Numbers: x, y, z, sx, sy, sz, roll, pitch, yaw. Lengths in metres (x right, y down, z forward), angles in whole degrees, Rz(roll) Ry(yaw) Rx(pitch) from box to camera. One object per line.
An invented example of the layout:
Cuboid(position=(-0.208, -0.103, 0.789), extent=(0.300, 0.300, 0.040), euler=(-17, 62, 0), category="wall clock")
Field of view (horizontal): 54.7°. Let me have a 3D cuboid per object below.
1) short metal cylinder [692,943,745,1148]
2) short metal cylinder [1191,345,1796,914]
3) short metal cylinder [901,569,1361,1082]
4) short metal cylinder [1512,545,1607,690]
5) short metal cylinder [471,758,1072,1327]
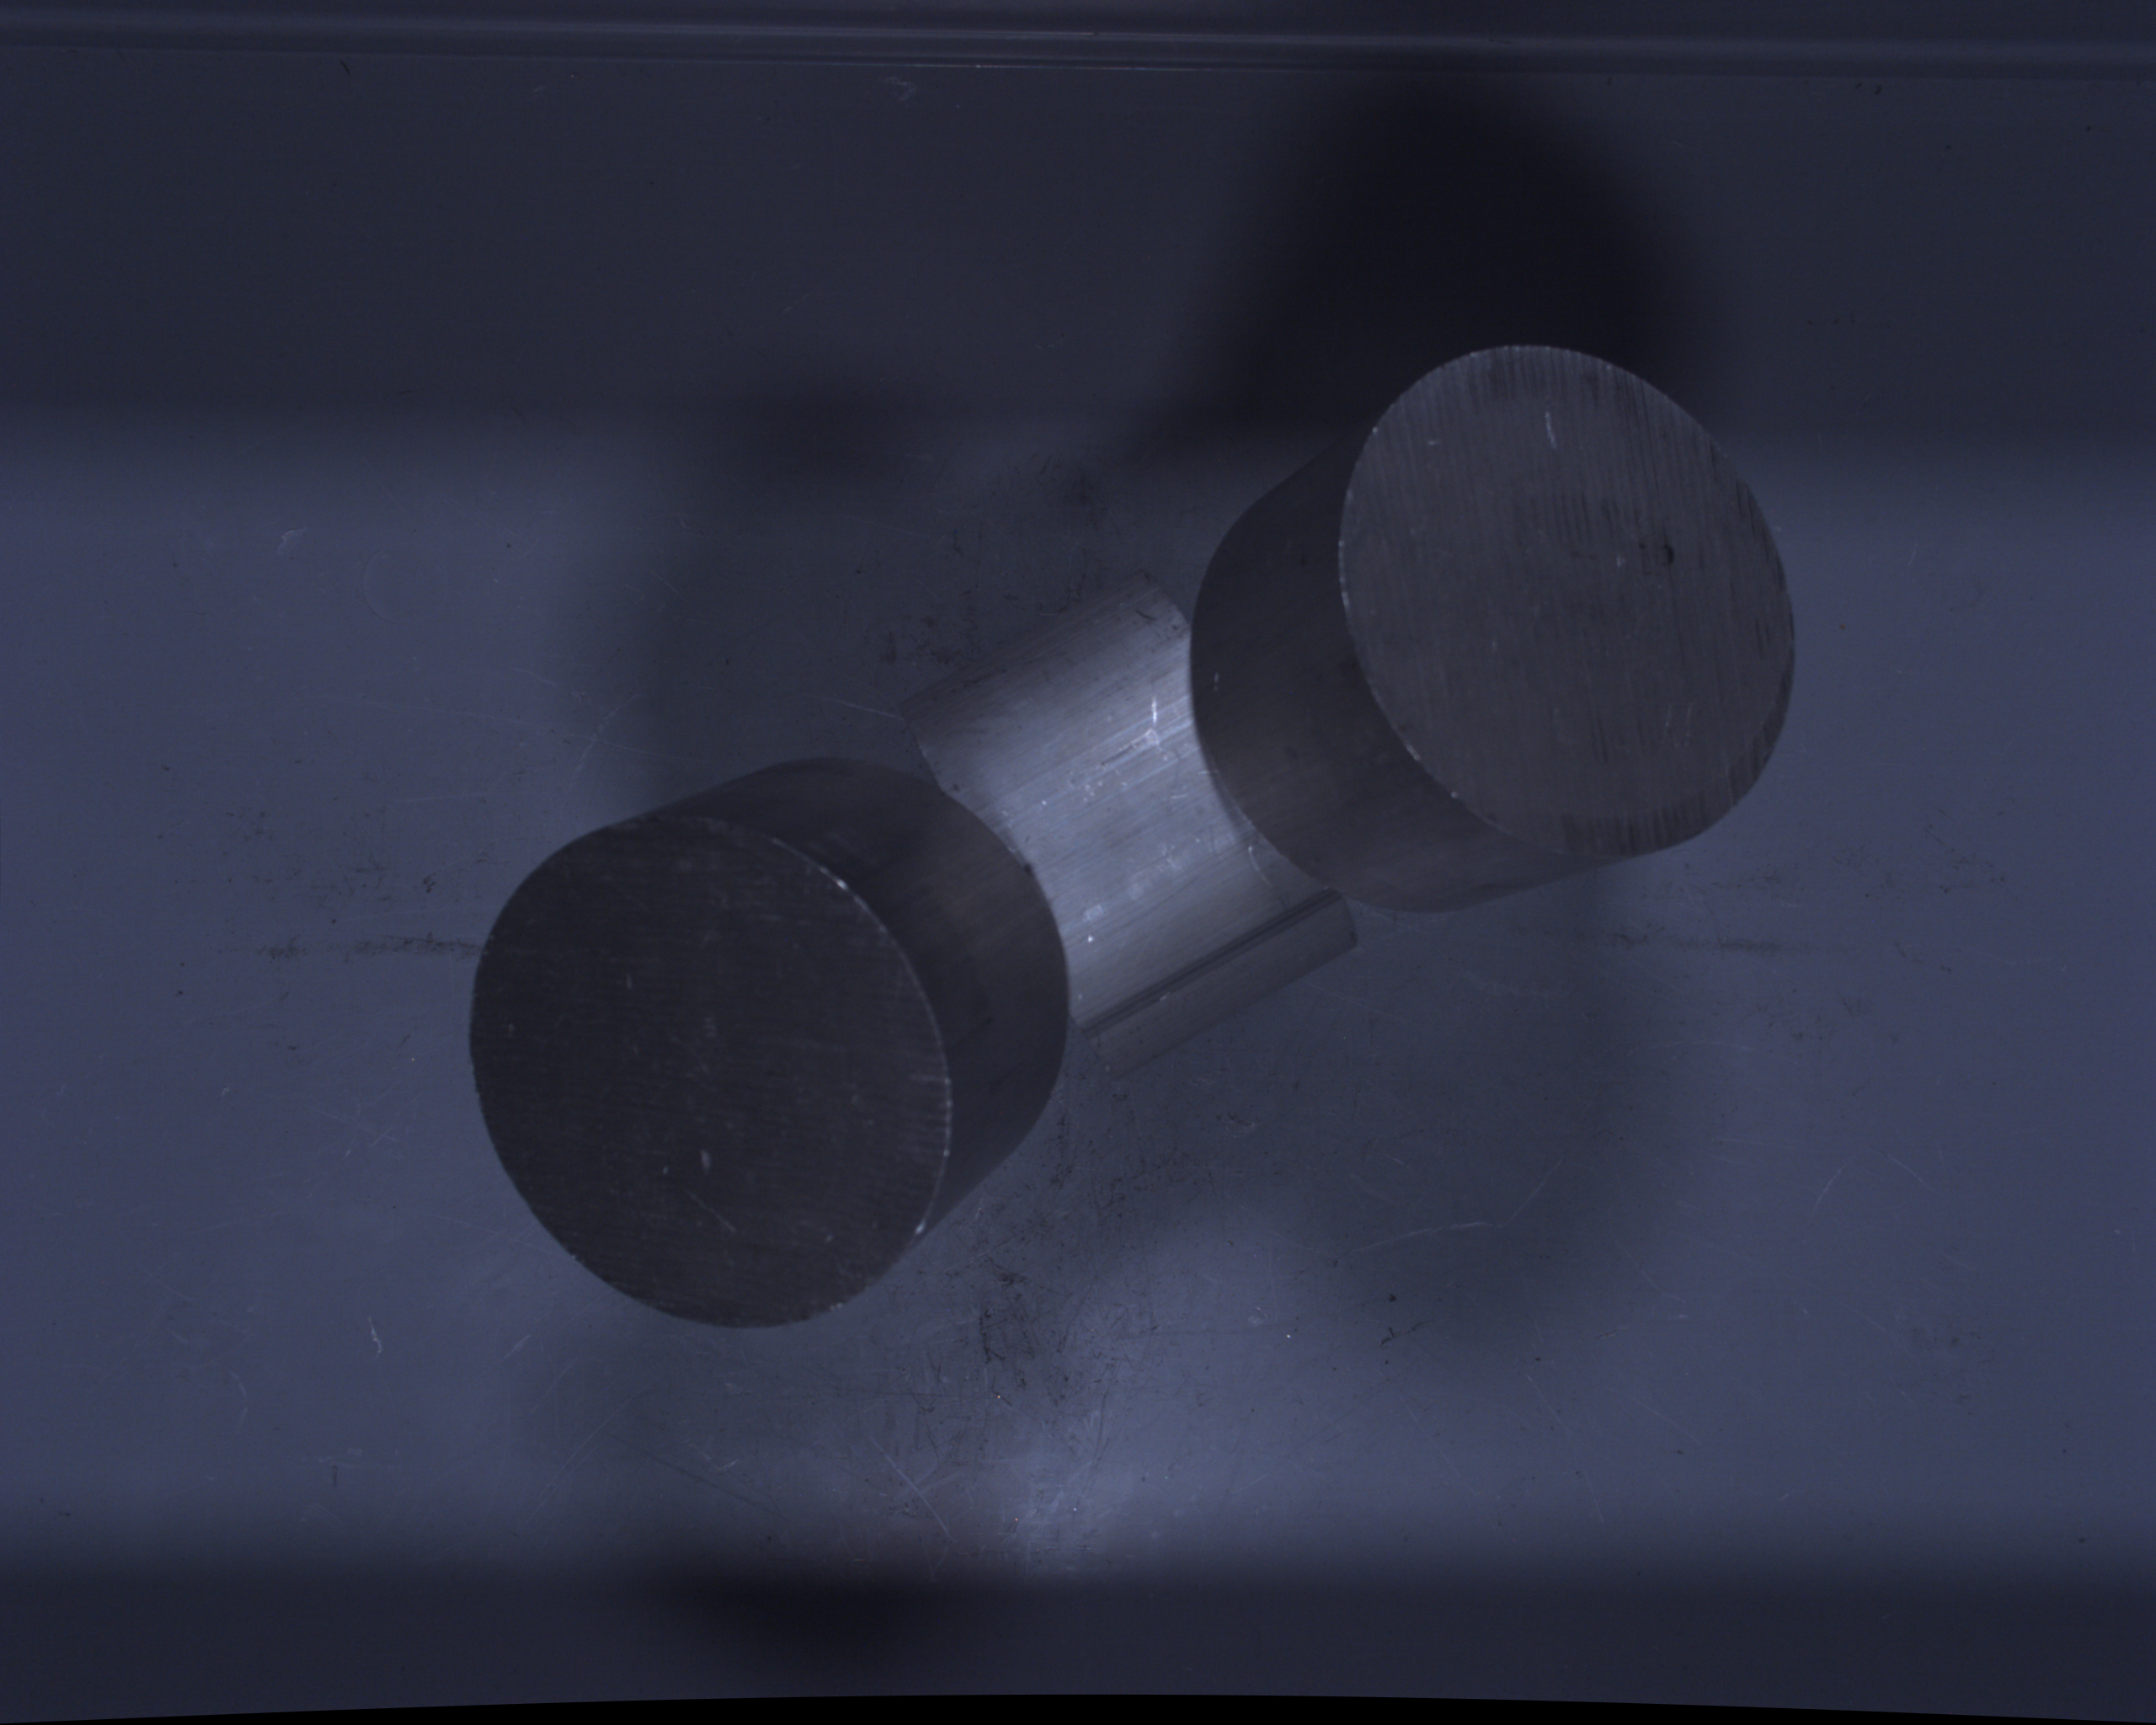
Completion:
Cuboid(position=(-0.048, 0.025, 0.397), extent=(0.081, 0.050, 0.079), euler=(0, 90, -1), category="short metal cylinder")
Cuboid(position=(0.065, -0.035, 0.333), extent=(0.081, 0.050, 0.080), euler=(5, 77, -21), category="short metal cylinder")
Cuboid(position=(0.009, -0.007, 0.382), extent=(0.050, 0.080, 0.080), euler=(-30, 90, 0), category="short metal cylinder")
Cuboid(position=(0.067, -0.037, 0.398), extent=(0.081, 0.050, 0.079), euler=(0, 90, -1), category="short metal cylinder")
Cuboid(position=(-0.047, 0.026, 0.332), extent=(0.080, 0.050, 0.079), euler=(4, 104, 18), category="short metal cylinder")
